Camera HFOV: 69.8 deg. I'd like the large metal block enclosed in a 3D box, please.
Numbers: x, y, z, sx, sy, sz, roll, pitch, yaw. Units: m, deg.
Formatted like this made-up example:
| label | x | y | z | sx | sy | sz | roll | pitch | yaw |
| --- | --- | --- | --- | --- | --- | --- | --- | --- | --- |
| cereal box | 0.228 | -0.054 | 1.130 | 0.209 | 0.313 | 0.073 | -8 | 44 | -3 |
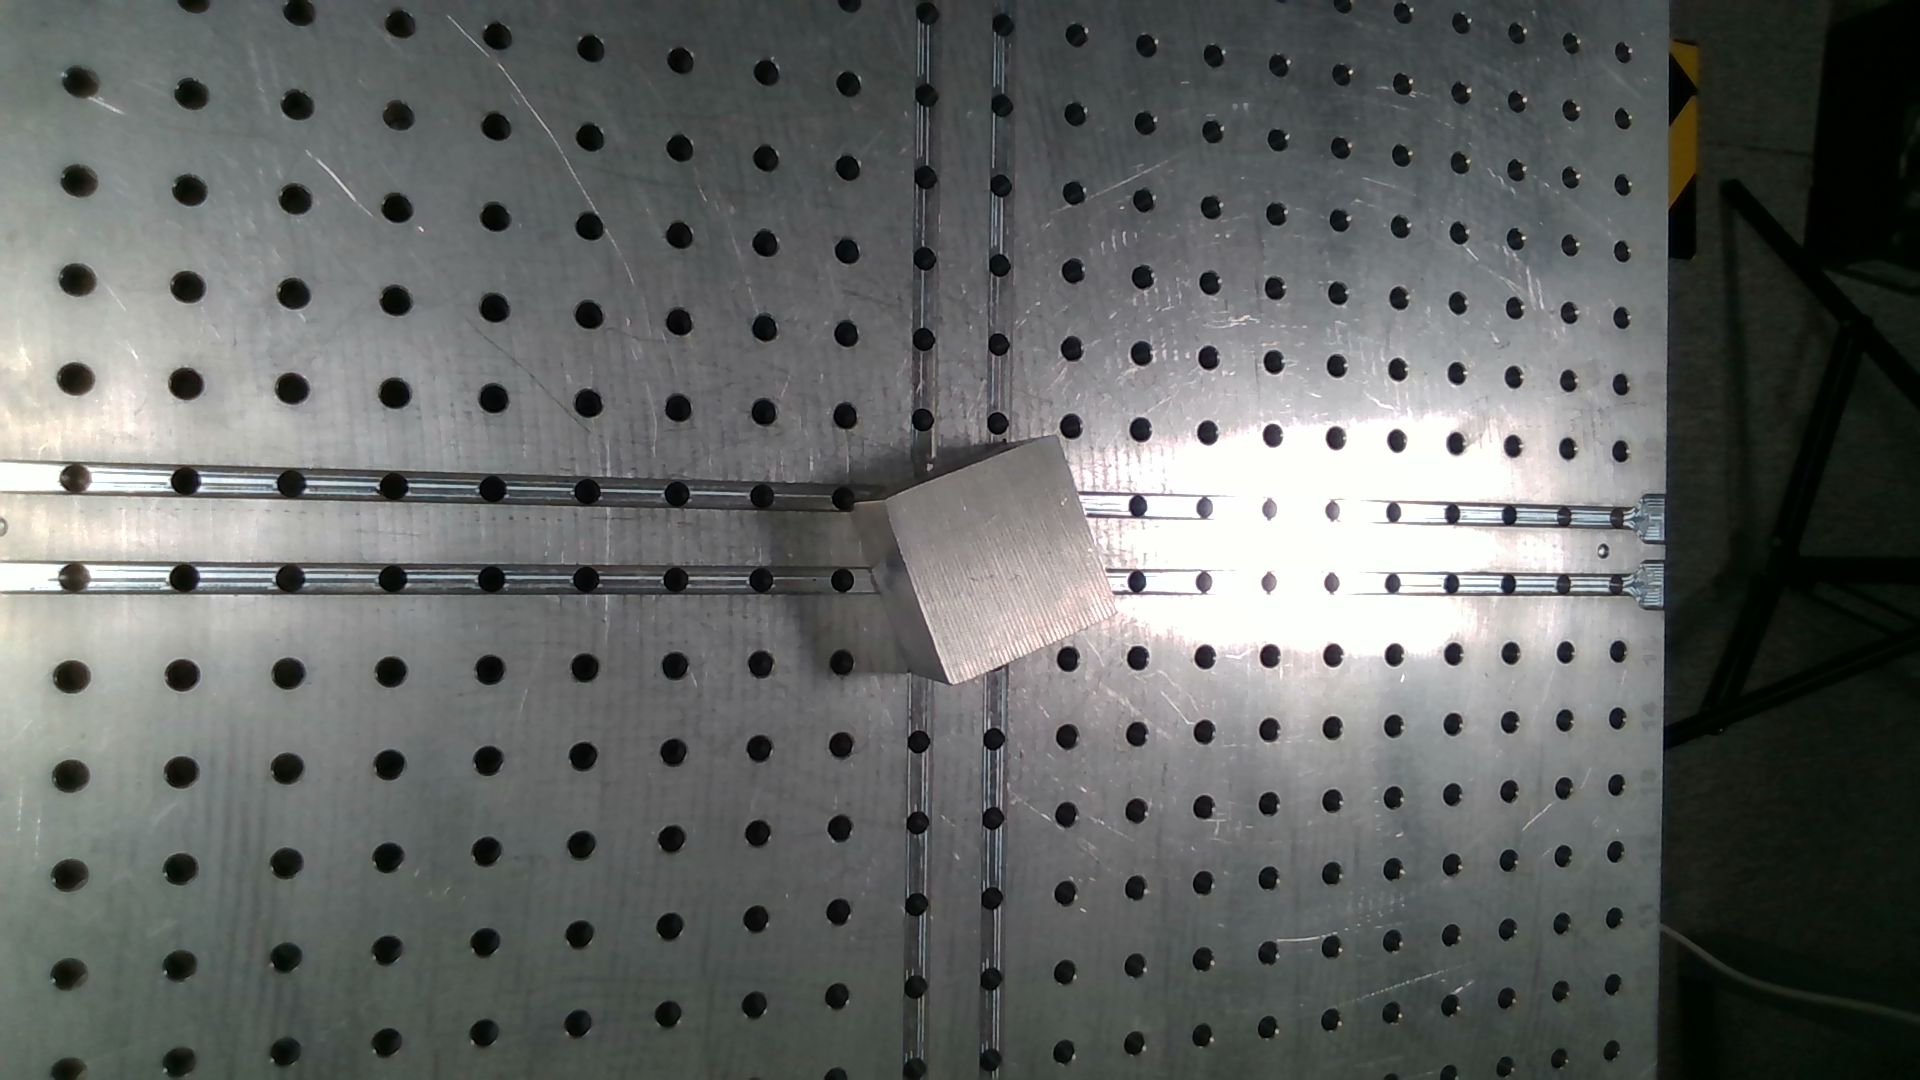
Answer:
| label | x | y | z | sx | sy | sz | roll | pitch | yaw |
| --- | --- | --- | --- | --- | --- | --- | --- | --- | --- |
| large metal block | 0.009 | 0.008 | 0.576 | 0.080 | 0.050 | 0.080 | -22 | 98 | -19 |
